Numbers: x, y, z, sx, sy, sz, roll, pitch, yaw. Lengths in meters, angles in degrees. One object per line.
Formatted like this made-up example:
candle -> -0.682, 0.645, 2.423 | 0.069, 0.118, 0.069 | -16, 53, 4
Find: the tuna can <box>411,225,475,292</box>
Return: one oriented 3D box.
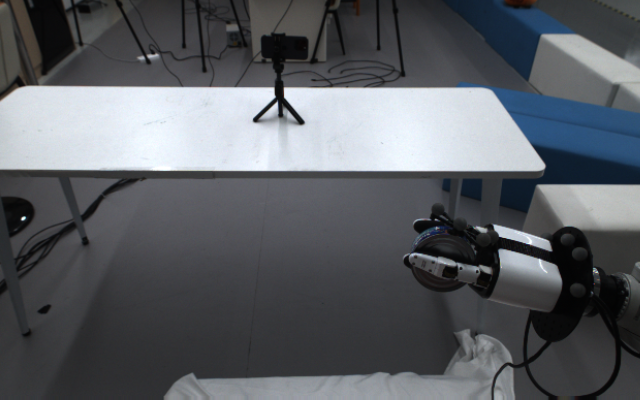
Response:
tuna can -> 0.168, 0.078, 0.658 | 0.085, 0.085, 0.034 | 7, 16, 7
